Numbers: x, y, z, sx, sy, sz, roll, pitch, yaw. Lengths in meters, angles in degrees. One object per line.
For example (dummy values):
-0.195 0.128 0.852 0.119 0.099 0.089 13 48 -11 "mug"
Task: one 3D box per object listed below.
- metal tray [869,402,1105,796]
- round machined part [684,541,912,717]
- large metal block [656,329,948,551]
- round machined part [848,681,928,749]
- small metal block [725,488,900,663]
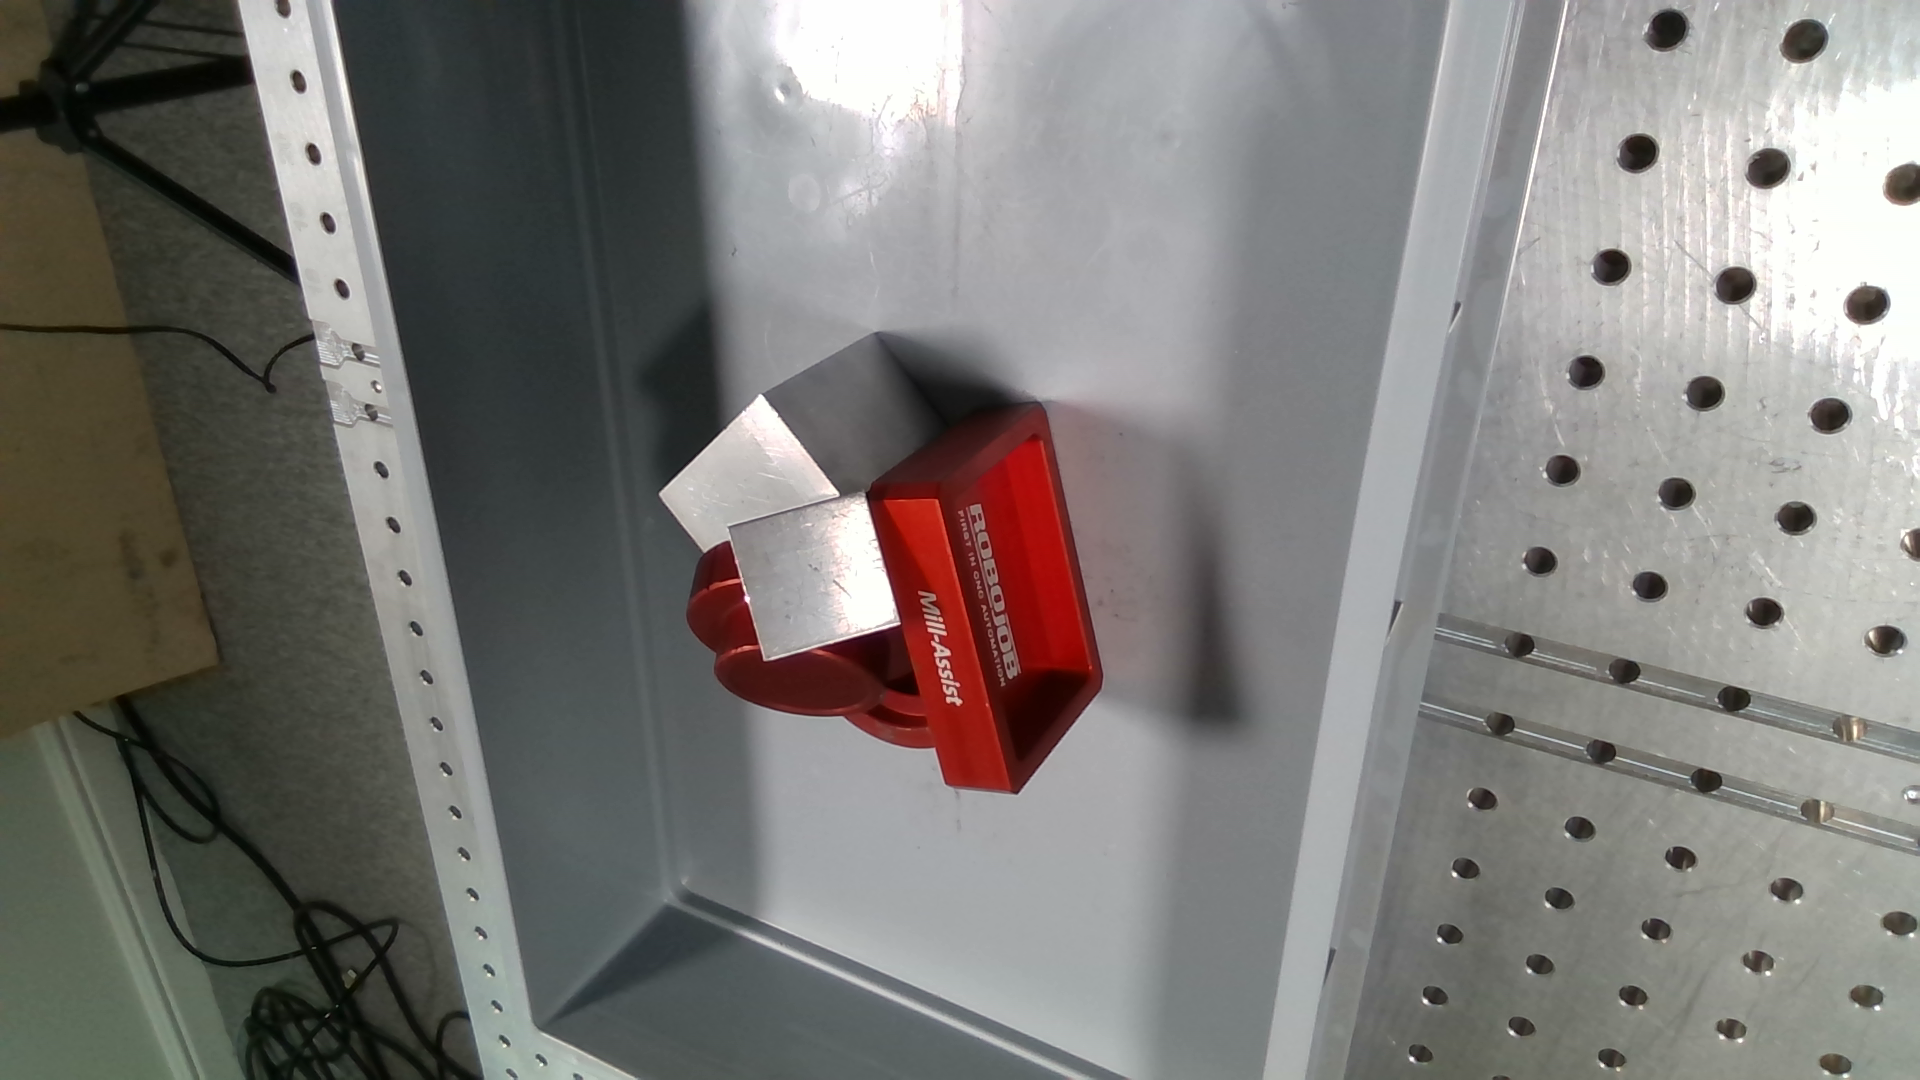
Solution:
0.014 0.022 0.539 0.030 0.090 0.130 0 115 32 "metal tray"
-0.062 0.039 0.553 0.098 0.042 0.098 5 152 3 "round machined part"
-0.064 -0.033 0.564 0.080 0.080 0.050 -35 94 39 "large metal block"
-0.021 0.039 0.604 0.098 0.042 0.098 14 122 25 "round machined part"
-0.053 0.012 0.498 0.050 0.025 0.050 -15 95 -3 "small metal block"
